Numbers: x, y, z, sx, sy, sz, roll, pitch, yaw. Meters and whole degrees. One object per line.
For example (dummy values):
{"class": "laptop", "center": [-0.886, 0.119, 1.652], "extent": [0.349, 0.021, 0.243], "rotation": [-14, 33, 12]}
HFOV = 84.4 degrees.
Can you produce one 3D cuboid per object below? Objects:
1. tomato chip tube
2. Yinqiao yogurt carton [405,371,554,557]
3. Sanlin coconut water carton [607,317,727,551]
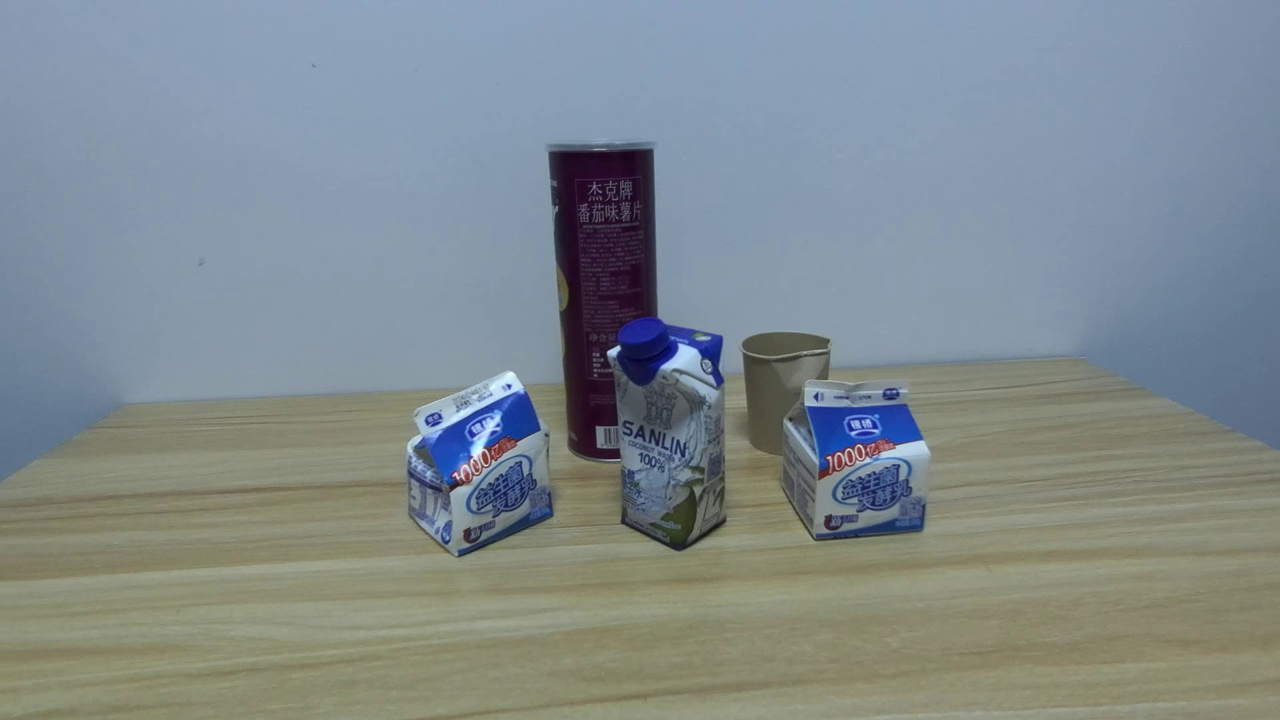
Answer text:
{"class": "tomato chip tube", "center": [-0.024, -0.043, 0.539], "extent": [0.078, 0.234, 0.078], "rotation": [-1, 17, 1]}
{"class": "Yinqiao yogurt carton", "center": [-0.106, 0.059, 0.463], "extent": [0.083, 0.093, 0.077], "rotation": [-17, 24, -37]}
{"class": "Sanlin coconut water carton", "center": [0.017, 0.041, 0.435], "extent": [0.077, 0.142, 0.058], "rotation": [15, 30, 41]}
